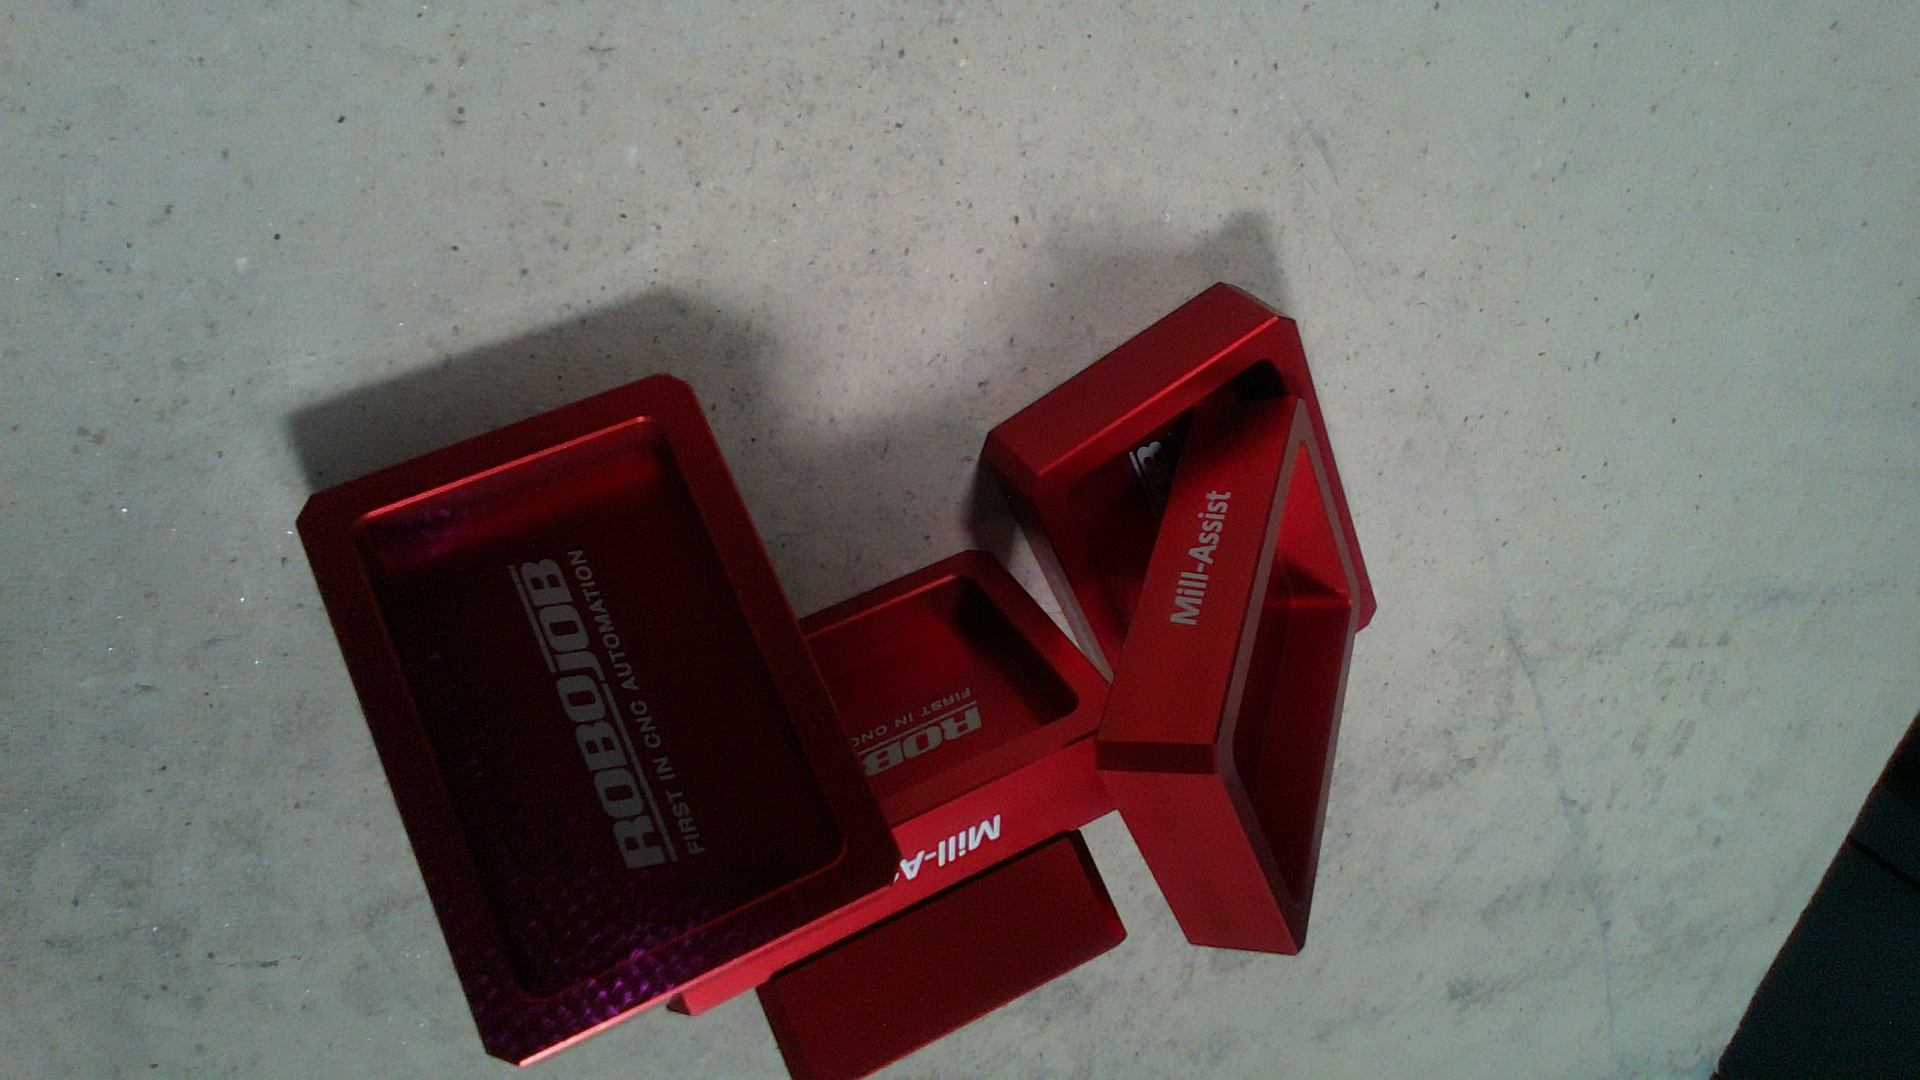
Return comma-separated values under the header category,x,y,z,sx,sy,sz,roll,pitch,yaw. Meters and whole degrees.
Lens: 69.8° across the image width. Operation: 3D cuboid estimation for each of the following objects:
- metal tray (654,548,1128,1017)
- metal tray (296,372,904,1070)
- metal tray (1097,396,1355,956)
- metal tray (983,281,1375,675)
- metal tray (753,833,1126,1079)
category,x,y,z,sx,sy,sz,roll,pitch,yaw
metal tray,-0.030,0.058,0.366,0.130,0.090,0.030,-23,127,-15
metal tray,-0.080,0.037,0.308,0.090,0.130,0.030,-22,165,-15
metal tray,0.079,0.035,0.382,0.090,0.030,0.130,62,37,-39
metal tray,0.072,-0.002,0.424,0.090,0.030,0.130,-34,129,-6
metal tray,-0.014,0.119,0.398,0.090,0.030,0.130,-22,171,-14
